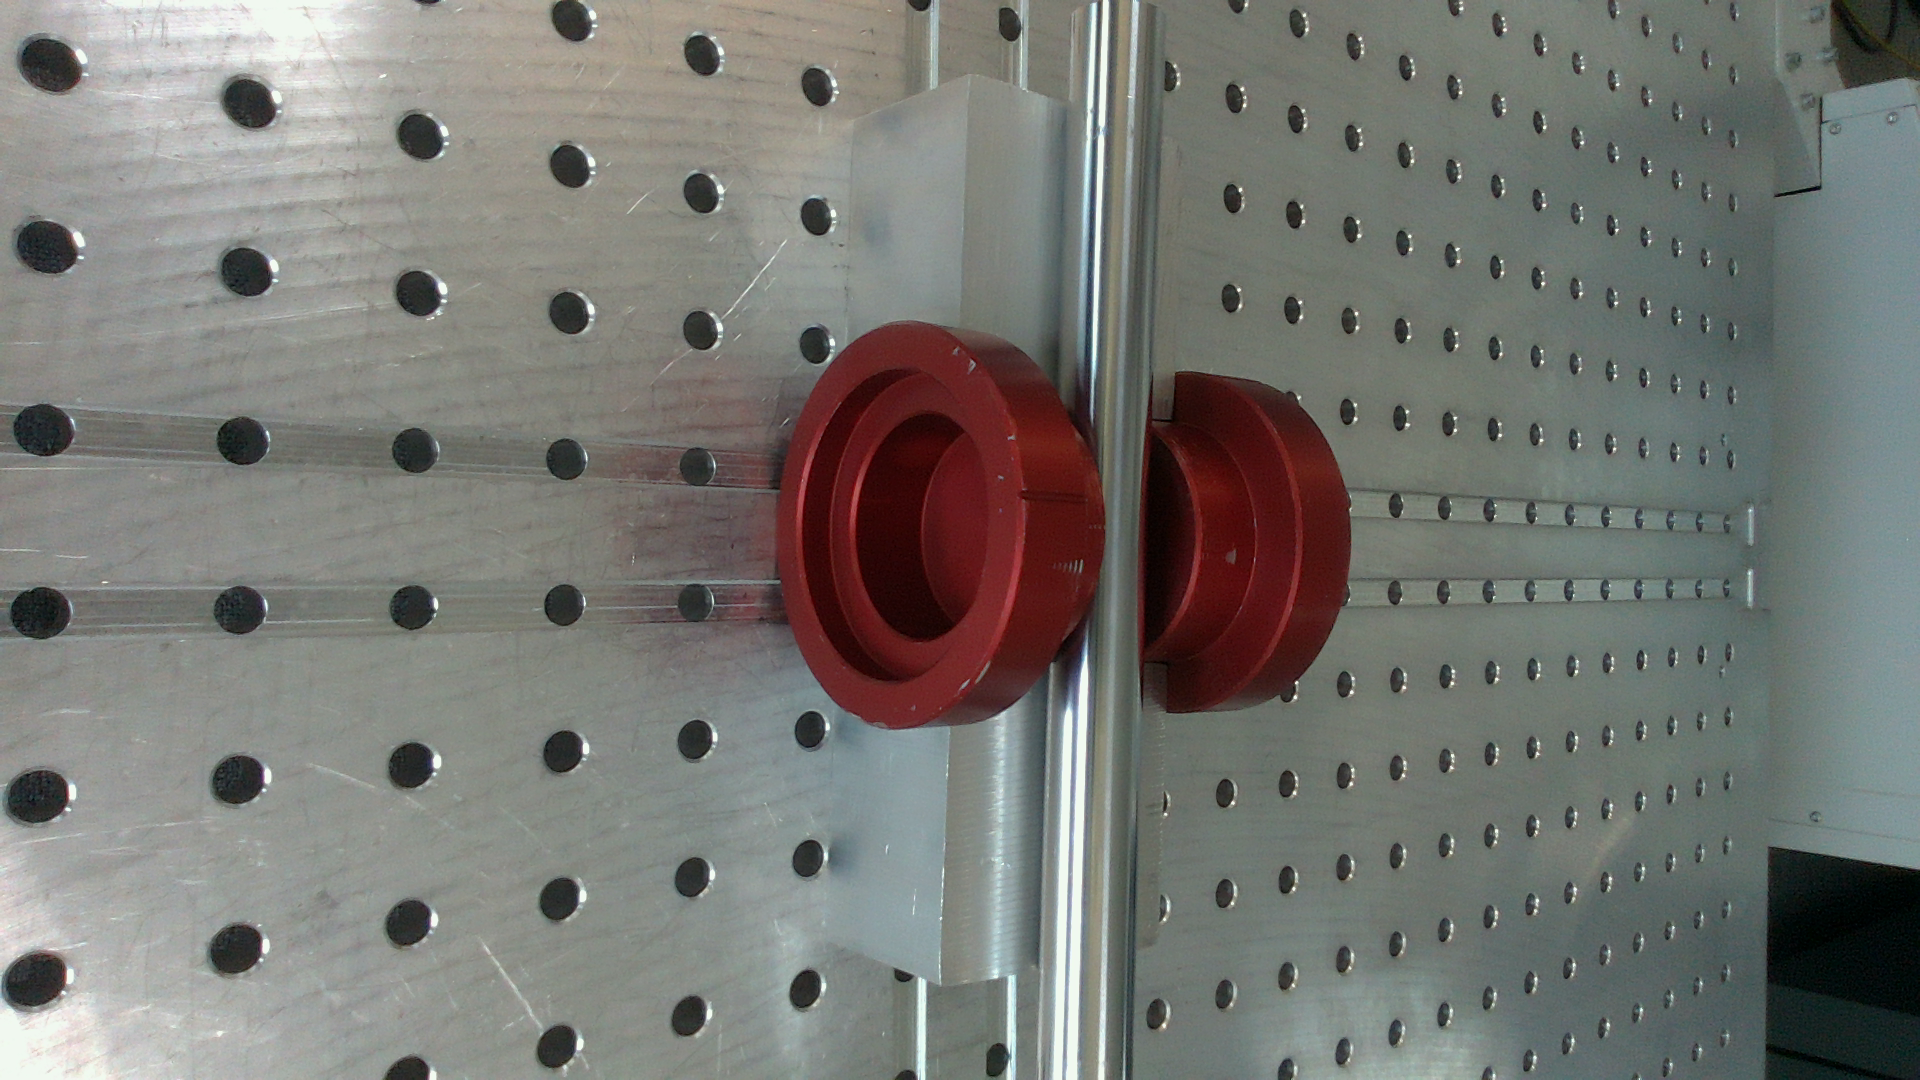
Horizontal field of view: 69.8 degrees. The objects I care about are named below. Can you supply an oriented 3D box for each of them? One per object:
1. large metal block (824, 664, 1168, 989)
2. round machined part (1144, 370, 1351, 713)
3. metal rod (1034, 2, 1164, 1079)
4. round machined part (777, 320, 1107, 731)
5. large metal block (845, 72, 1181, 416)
[{"bbox_3d":[0.011,0.072,0.384,0.080,0.050,0.080,4,88,-40],"label":"large metal block"},{"bbox_3d":[0.060,0.000,0.393,0.042,0.098,0.098,2,89,-35],"label":"round machined part"},{"bbox_3d":[0.036,0.014,0.356,0.025,0.025,0.300,3,88,-40],"label":"metal rod"},{"bbox_3d":[-0.002,-0.003,0.342,0.042,0.098,0.098,3,88,-40],"label":"round machined part"},{"bbox_3d":[0.016,-0.076,0.388,0.080,0.050,0.080,3,88,-40],"label":"large metal block"}]
